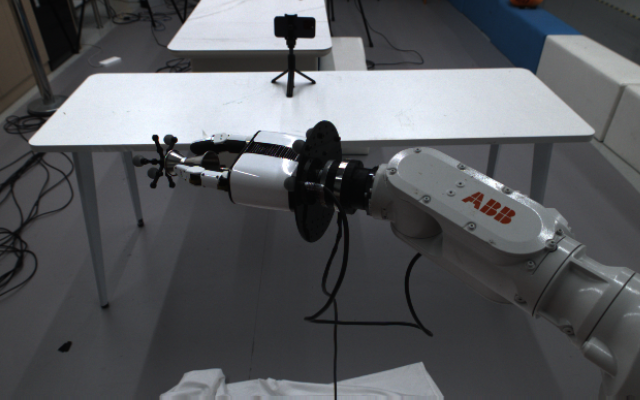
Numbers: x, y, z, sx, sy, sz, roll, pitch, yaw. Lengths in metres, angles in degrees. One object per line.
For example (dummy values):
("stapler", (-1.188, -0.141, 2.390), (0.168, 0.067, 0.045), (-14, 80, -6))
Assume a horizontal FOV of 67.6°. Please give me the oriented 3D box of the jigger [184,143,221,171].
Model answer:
("jigger", (-0.178, -0.058, 0.703), (0.071, 0.043, 0.043), (5, 33, 23))
